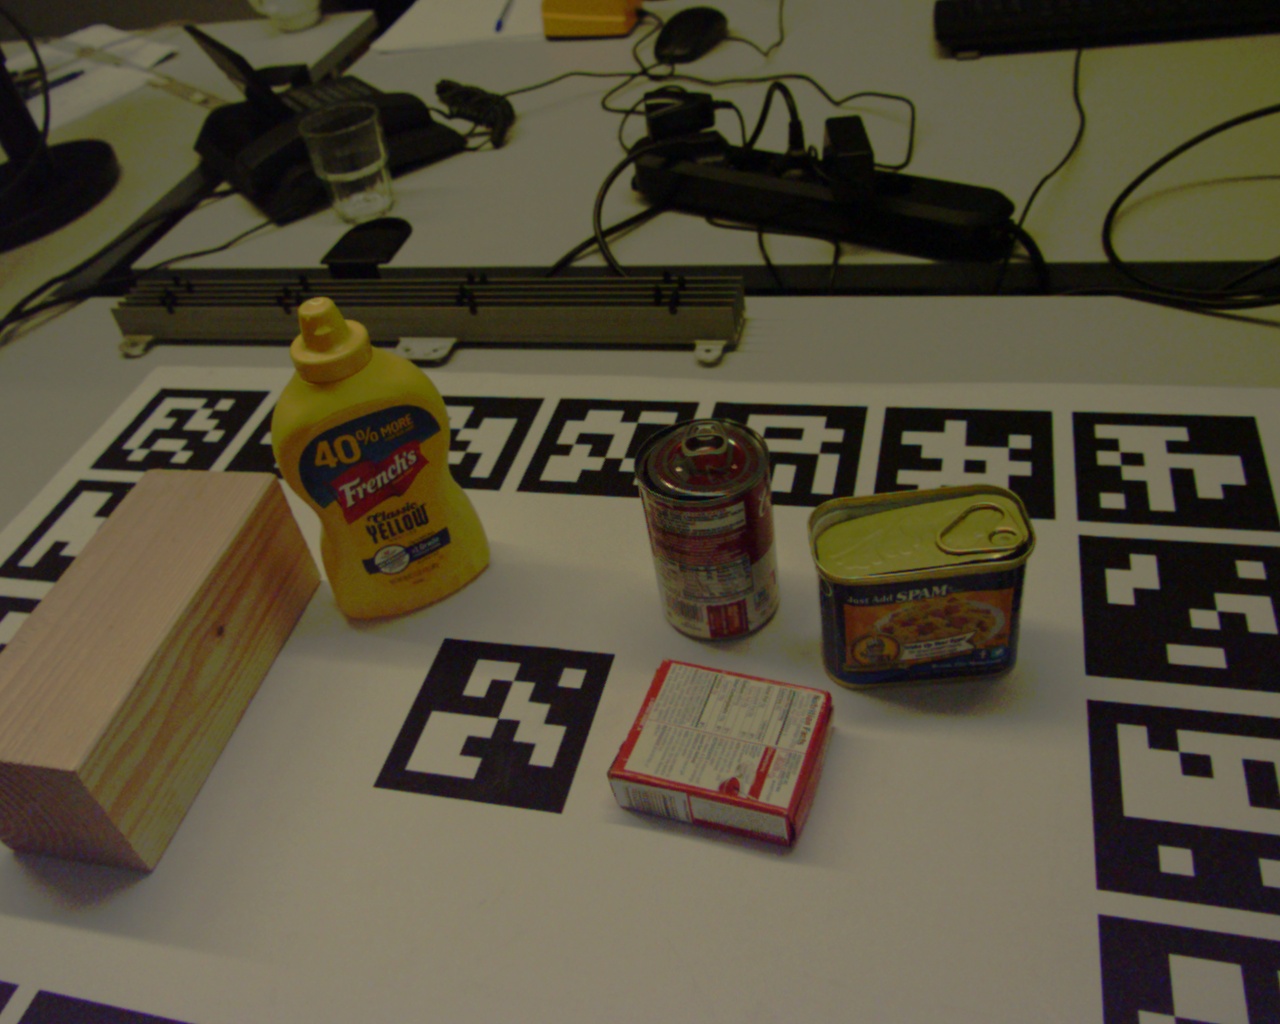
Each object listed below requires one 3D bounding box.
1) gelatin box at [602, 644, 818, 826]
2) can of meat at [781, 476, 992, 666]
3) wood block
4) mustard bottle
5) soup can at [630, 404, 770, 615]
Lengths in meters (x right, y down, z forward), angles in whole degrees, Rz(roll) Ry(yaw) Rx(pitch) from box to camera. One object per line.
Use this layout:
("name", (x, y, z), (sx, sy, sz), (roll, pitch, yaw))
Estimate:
("gelatin box", (0.036, 0.110, 0.573), (0.090, 0.030, 0.073), (8, 47, 25))
("can of meat", (0.128, 0.033, 0.603), (0.102, 0.083, 0.058), (-5, 42, 4))
("wood block", (-0.269, 0.074, 0.647), (0.091, 0.089, 0.206), (4, 40, 15))
("mustard bottle", (-0.158, -0.026, 0.663), (0.096, 0.190, 0.059), (-14, 41, -5))
("soup can", (0.036, 0.000, 0.634), (0.068, 0.101, 0.068), (-7, 43, 6))
